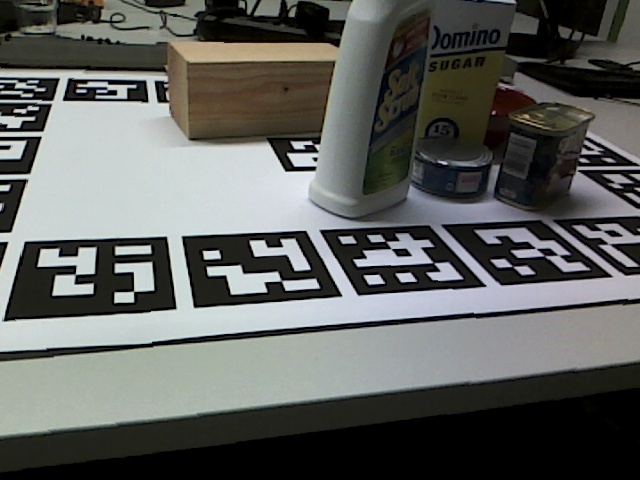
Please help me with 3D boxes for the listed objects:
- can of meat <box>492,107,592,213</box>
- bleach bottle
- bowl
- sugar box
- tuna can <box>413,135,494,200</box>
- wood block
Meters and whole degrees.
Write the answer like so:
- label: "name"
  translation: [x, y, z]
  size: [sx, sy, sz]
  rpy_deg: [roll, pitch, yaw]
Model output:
- label: "can of meat"
  translation: [0.220, -0.082, 0.622]
  size: [0.058, 0.083, 0.101]
  rpy_deg: [26, 33, 37]
- label: "bleach bottle"
  translation: [0.050, -0.149, 0.534]
  size: [0.102, 0.250, 0.068]
  rpy_deg: [-19, 36, -37]
- label: "bowl"
  translation: [0.192, -0.157, 0.774]
  size: [0.161, 0.055, 0.162]
  rpy_deg: [1, 30, -1]
- label: "sugar box"
  translation: [0.143, -0.168, 0.654]
  size: [0.093, 0.176, 0.045]
  rpy_deg: [5, 31, 5]
- label: "tuna can"
  translation: [0.130, -0.075, 0.631]
  size: [0.085, 0.033, 0.086]
  rpy_deg: [4, 32, -3]
- label: "wood block"
  translation: [-0.067, -0.180, 0.738]
  size: [0.205, 0.090, 0.091]
  rpy_deg: [-7, 36, -24]
